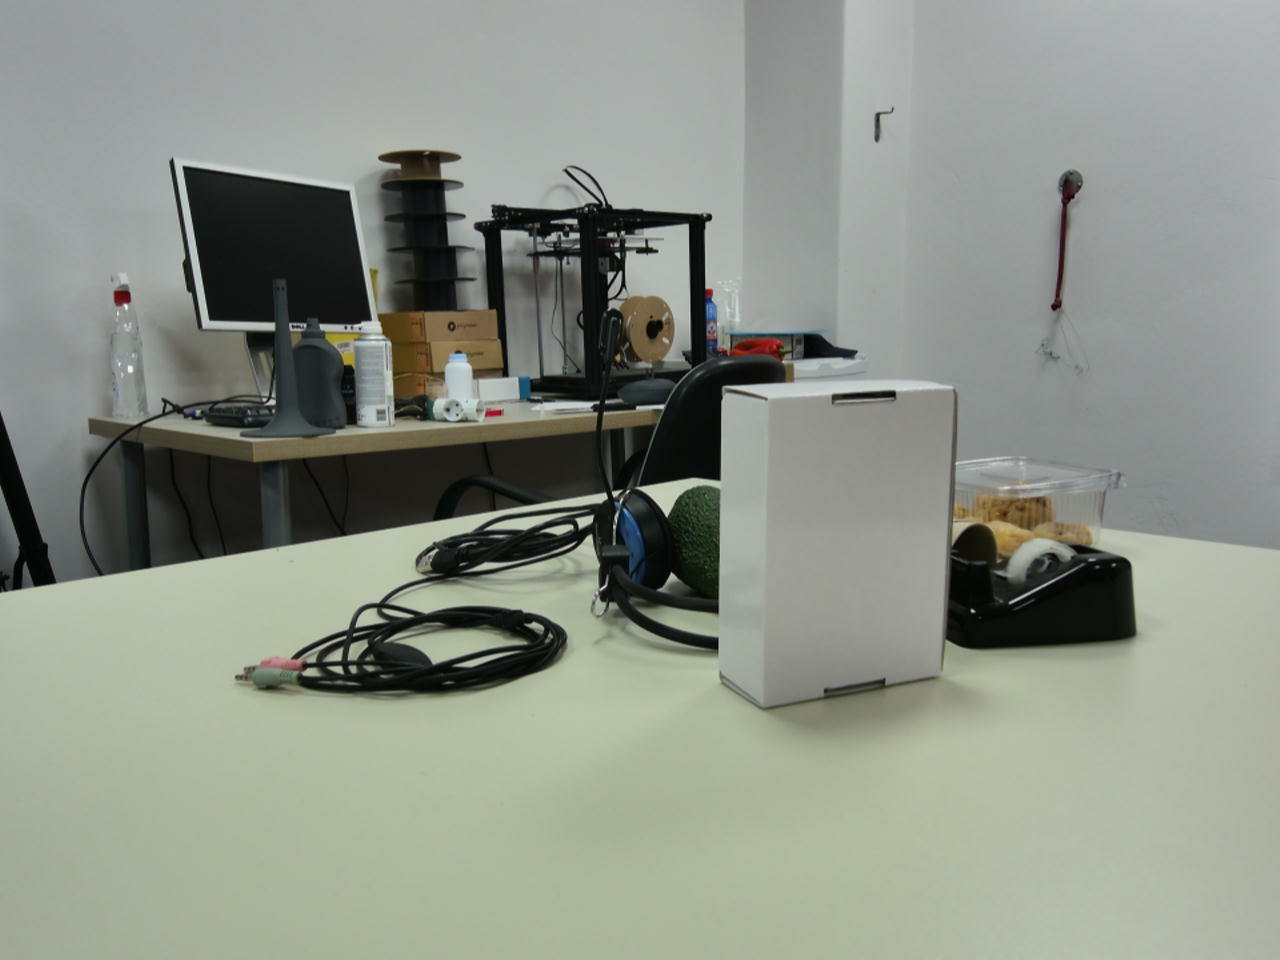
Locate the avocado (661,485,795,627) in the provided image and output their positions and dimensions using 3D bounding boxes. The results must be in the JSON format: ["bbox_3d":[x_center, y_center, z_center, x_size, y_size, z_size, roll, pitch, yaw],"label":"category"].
[{"bbox_3d":[0.059,0.041,0.608,0.063,0.067,0.141,-3,7,-28],"label":"avocado"}]
